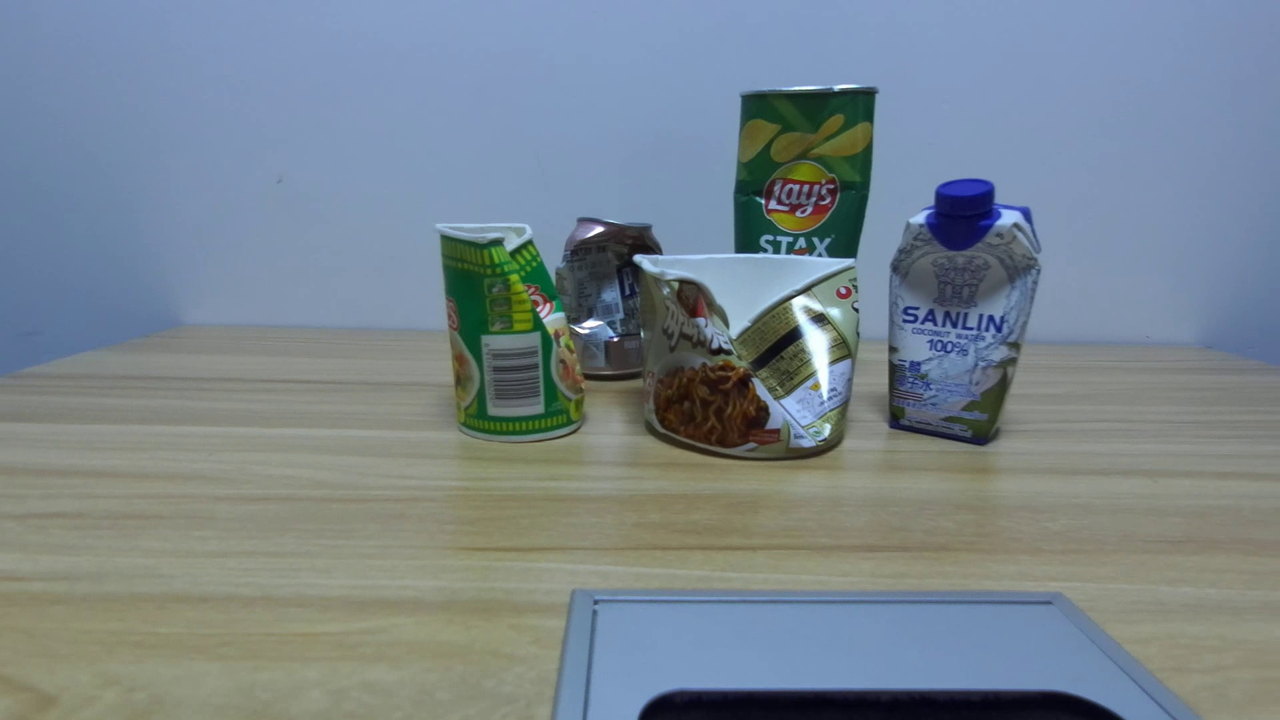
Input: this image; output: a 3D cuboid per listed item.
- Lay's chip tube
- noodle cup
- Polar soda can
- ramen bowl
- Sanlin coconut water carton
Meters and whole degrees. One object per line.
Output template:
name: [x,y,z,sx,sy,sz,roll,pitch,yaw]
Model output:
Lay's chip tube: [0.110,-0.084,0.495,0.075,0.199,0.068,-3,14,-18]
noodle cup: [-0.068,-0.019,0.389,0.075,0.122,0.083,2,21,37]
Polar soda can: [-0.017,-0.044,0.508,0.070,0.114,0.074,9,19,16]
ramen bowl: [0.059,-0.010,0.398,0.137,0.098,0.137,2,12,0]
Sanlin coconut water carton: [0.178,-0.028,0.394,0.077,0.142,0.058,10,21,33]
